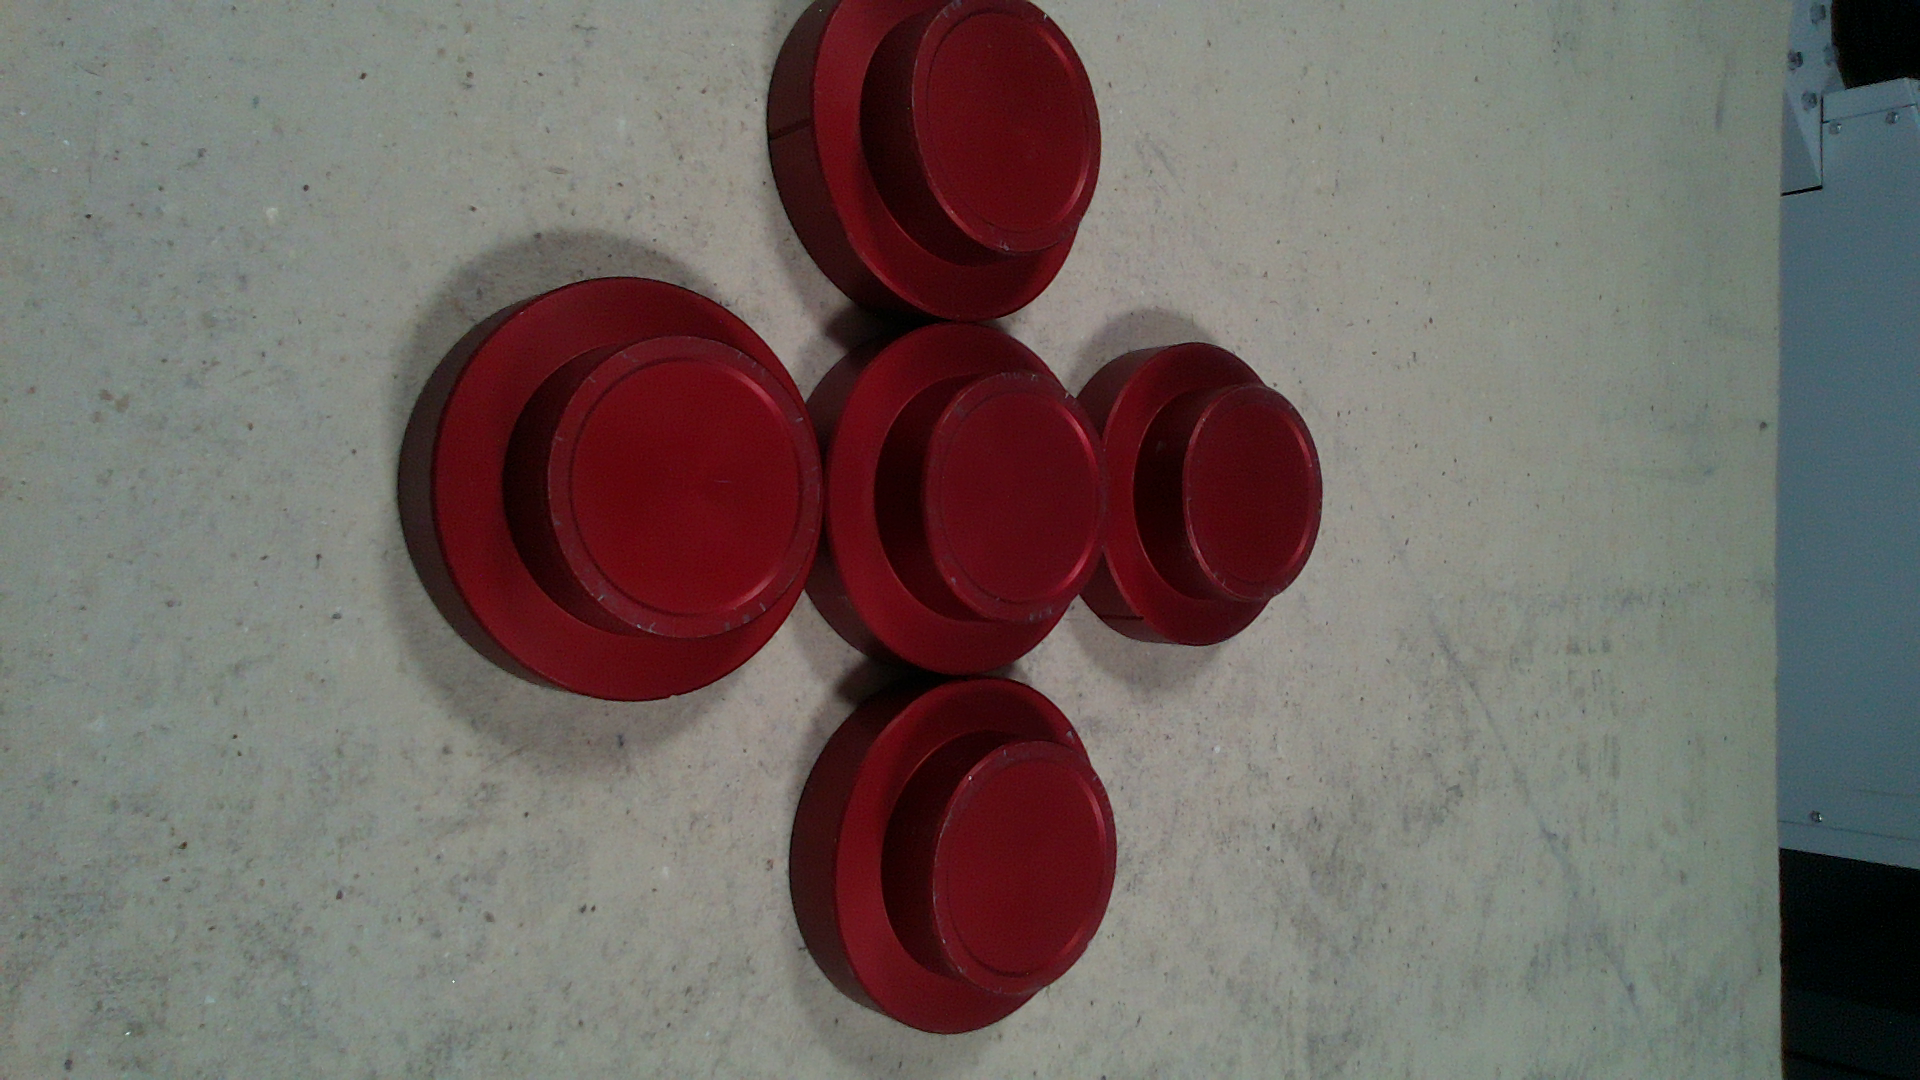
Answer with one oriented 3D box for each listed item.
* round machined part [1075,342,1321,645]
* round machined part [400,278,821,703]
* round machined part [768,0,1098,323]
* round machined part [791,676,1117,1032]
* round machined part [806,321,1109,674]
[{"bbox_3d":[0.079,-0.015,0.444,0.098,0.042,0.098,0,90,-40],"label":"round machined part"},{"bbox_3d":[-0.072,-0.011,0.318,0.098,0.042,0.098,0,90,-40],"label":"round machined part"},{"bbox_3d":[0.000,-0.110,0.378,0.098,0.042,0.098,0,90,-40],"label":"round machined part"},{"bbox_3d":[0.005,0.087,0.382,0.098,0.042,0.098,0,90,-40],"label":"round machined part"},{"bbox_3d":[0.003,-0.012,0.381,0.098,0.042,0.098,0,90,-40],"label":"round machined part"}]
